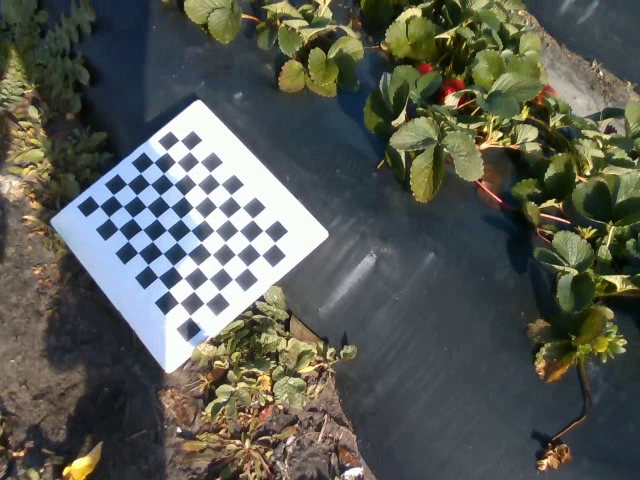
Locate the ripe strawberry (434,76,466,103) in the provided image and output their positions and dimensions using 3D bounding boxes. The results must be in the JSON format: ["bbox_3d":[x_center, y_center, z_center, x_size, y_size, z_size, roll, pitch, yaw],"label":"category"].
[{"bbox_3d":[0.194,-0.241,0.848,0.052,0.046,0.058,8,25,16],"label":"ripe strawberry"}]
